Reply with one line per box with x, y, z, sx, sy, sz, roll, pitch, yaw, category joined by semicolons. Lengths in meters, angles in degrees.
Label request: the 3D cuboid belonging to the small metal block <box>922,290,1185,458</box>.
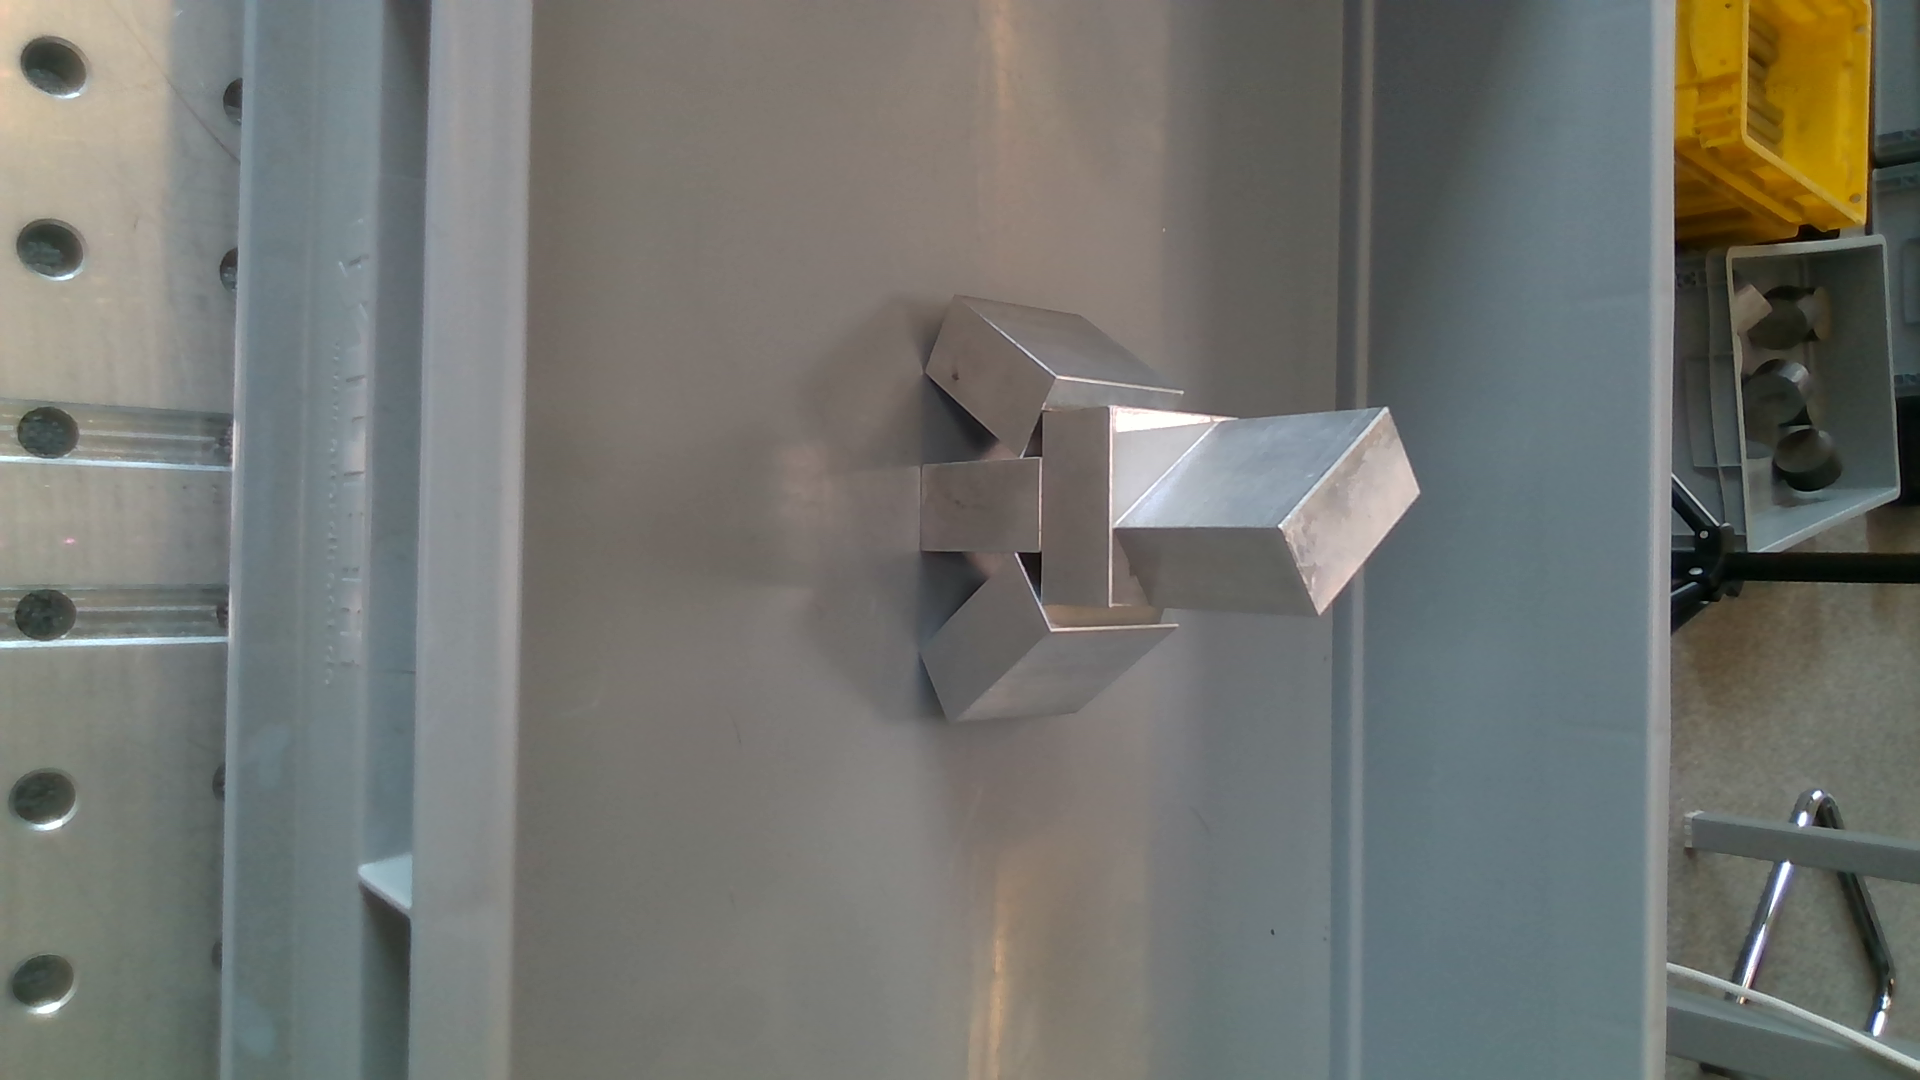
0.026;-0.046;0.391;0.050;0.050;0.025;1;123;-40;small metal block

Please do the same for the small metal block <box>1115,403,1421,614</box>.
0.075;-0.008;0.338;0.050;0.050;0.025;-43;115;-32;small metal block

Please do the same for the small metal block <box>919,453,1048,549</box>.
0.024;-0.010;0.393;0.050;0.050;0.025;1;89;-41;small metal block

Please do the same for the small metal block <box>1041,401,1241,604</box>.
0.048;-0.009;0.364;0.050;0.025;0.050;1;89;-41;small metal block

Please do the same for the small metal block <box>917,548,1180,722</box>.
0.025;0.027;0.391;0.050;0.050;0.025;1;55;-40;small metal block
